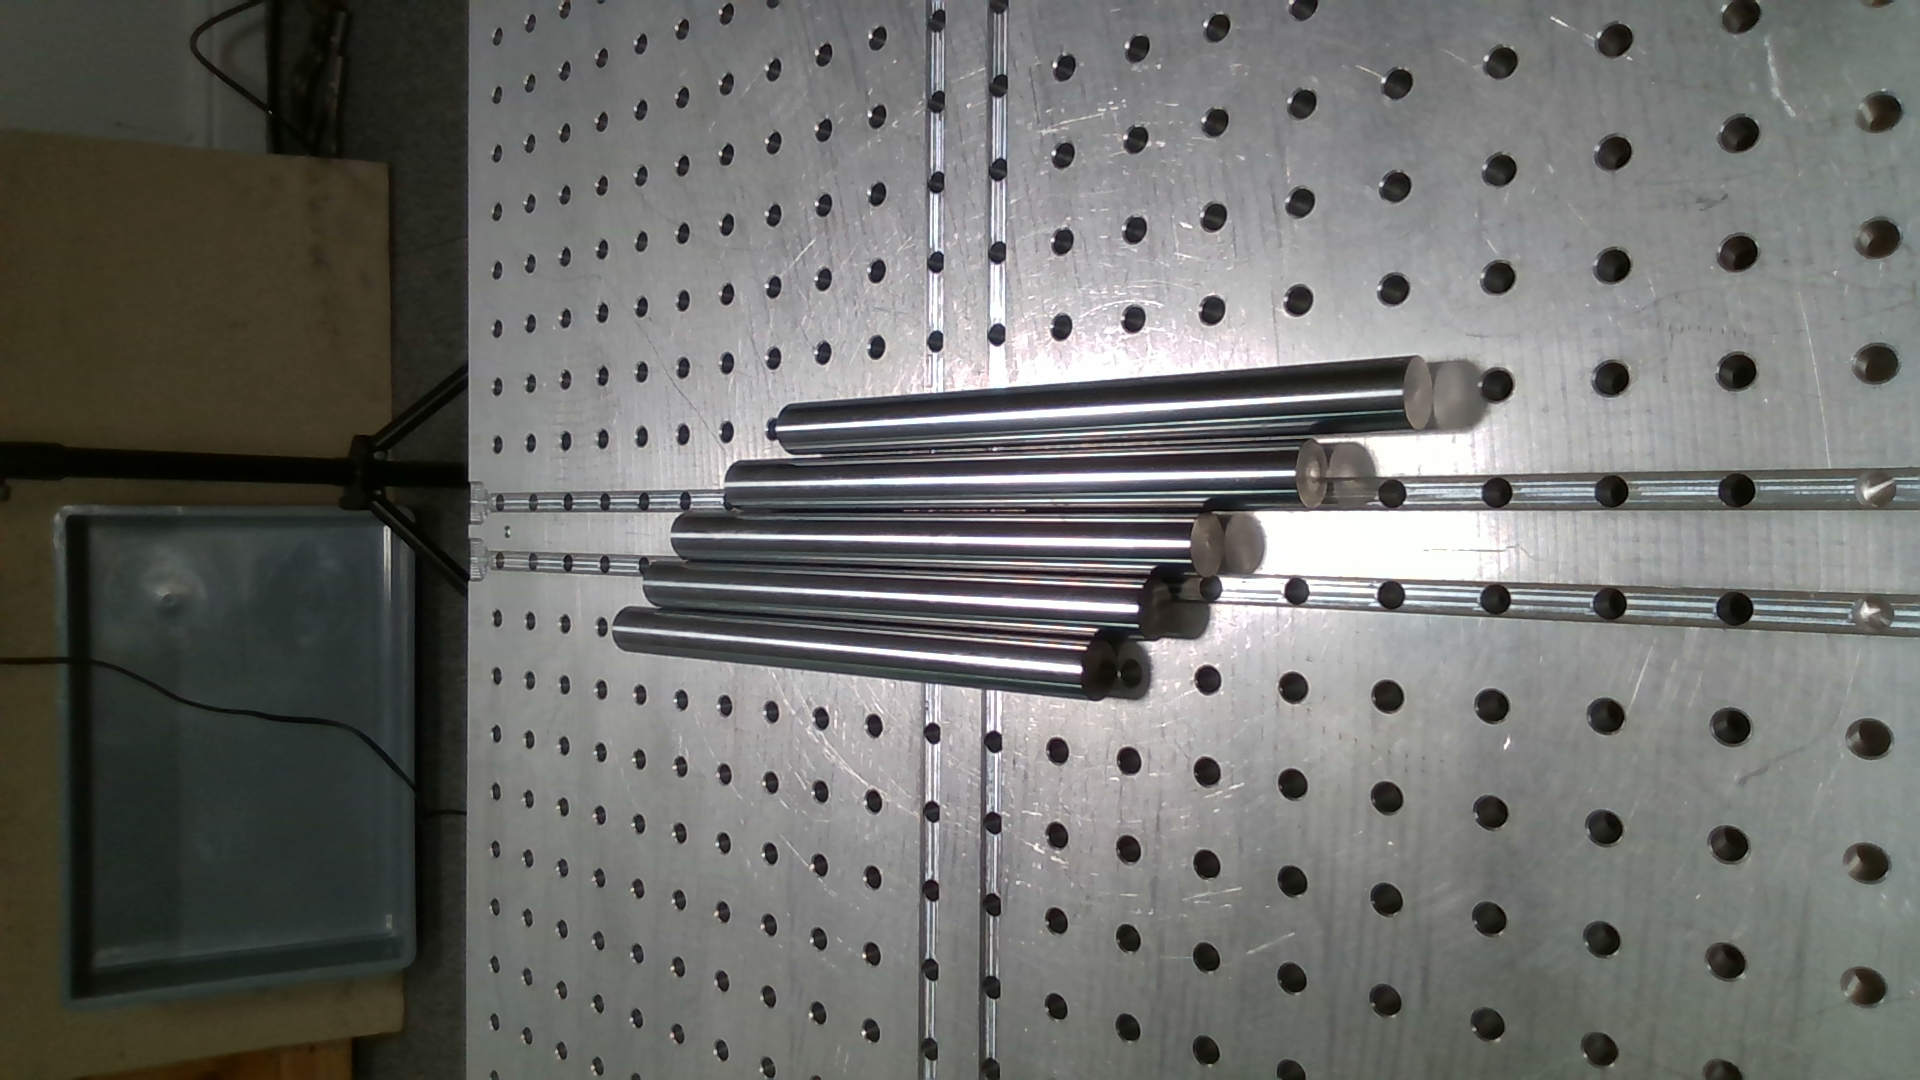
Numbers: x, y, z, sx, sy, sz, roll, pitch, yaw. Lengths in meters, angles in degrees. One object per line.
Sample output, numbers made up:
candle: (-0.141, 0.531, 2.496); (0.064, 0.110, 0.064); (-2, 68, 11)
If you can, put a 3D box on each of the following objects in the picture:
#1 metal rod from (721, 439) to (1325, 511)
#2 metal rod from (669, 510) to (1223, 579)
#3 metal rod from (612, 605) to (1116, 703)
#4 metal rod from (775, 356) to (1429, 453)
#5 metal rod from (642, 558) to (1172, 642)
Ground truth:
metal rod: (0.007, -0.025, 0.577); (0.300, 0.025, 0.025); (1, 91, 40)
metal rod: (-0.024, -0.001, 0.604); (0.300, 0.025, 0.025); (1, 91, 40)
metal rod: (-0.060, 0.049, 0.636); (0.300, 0.025, 0.025); (1, 91, 40)
metal rod: (0.036, -0.051, 0.554); (0.300, 0.025, 0.025); (1, 91, 40)
metal rod: (-0.041, 0.024, 0.619); (0.300, 0.025, 0.025); (1, 91, 40)
